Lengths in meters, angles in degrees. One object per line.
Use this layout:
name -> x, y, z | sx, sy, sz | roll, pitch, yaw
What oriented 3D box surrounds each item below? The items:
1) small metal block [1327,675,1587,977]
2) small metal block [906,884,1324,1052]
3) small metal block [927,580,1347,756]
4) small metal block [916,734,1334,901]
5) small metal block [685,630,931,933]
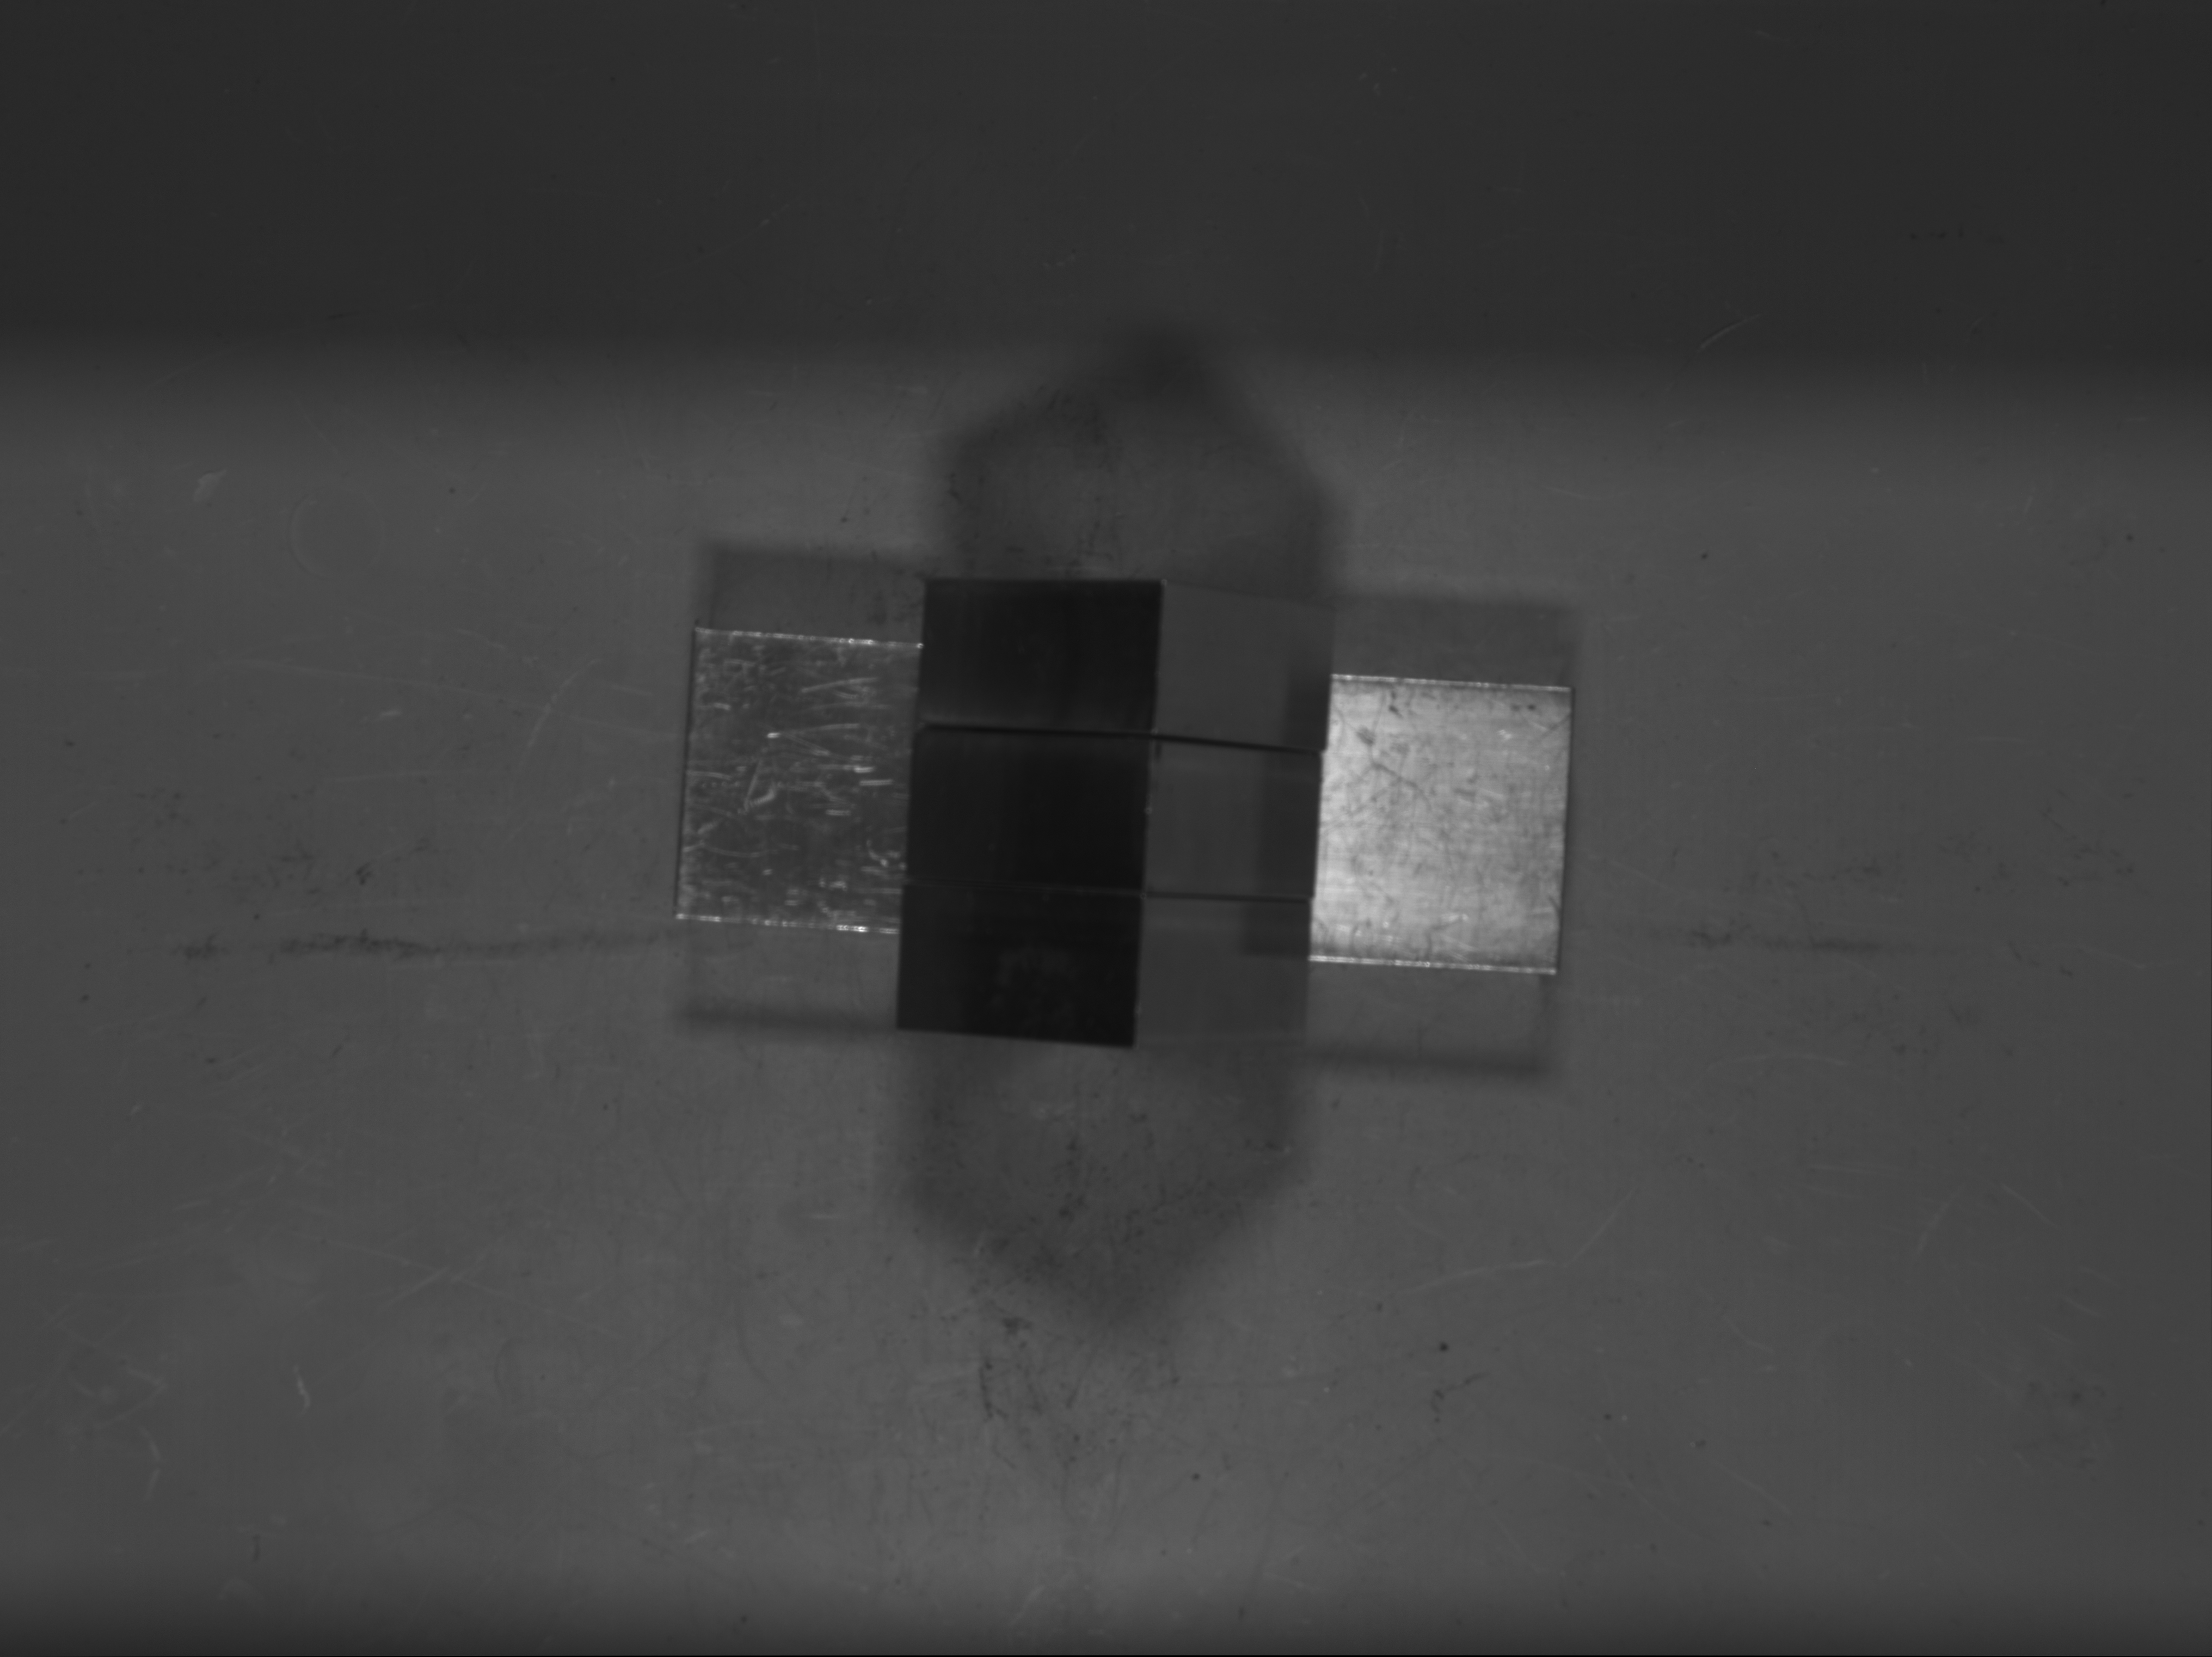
small metal block -> 0.057, -0.001, 0.645 | 0.050, 0.025, 0.050 | 3, 90, 0
small metal block -> 0.002, 0.024, 0.621 | 0.050, 0.050, 0.025 | 2, 89, 36
small metal block -> 0.006, -0.027, 0.621 | 0.050, 0.050, 0.025 | 3, 89, 36
small metal block -> 0.004, -0.002, 0.621 | 0.050, 0.050, 0.025 | 2, 89, 36
small metal block -> -0.046, -0.008, 0.644 | 0.050, 0.025, 0.050 | 4, 90, 0
